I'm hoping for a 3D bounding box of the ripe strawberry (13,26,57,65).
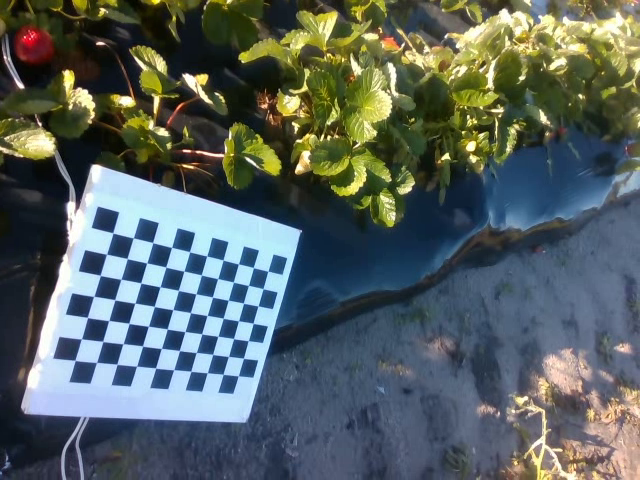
[{"bbox_3d":[-0.375,-0.259,0.791,0.040,0.080,0.063,-23,-53,20],"label":"ripe strawberry"}]
